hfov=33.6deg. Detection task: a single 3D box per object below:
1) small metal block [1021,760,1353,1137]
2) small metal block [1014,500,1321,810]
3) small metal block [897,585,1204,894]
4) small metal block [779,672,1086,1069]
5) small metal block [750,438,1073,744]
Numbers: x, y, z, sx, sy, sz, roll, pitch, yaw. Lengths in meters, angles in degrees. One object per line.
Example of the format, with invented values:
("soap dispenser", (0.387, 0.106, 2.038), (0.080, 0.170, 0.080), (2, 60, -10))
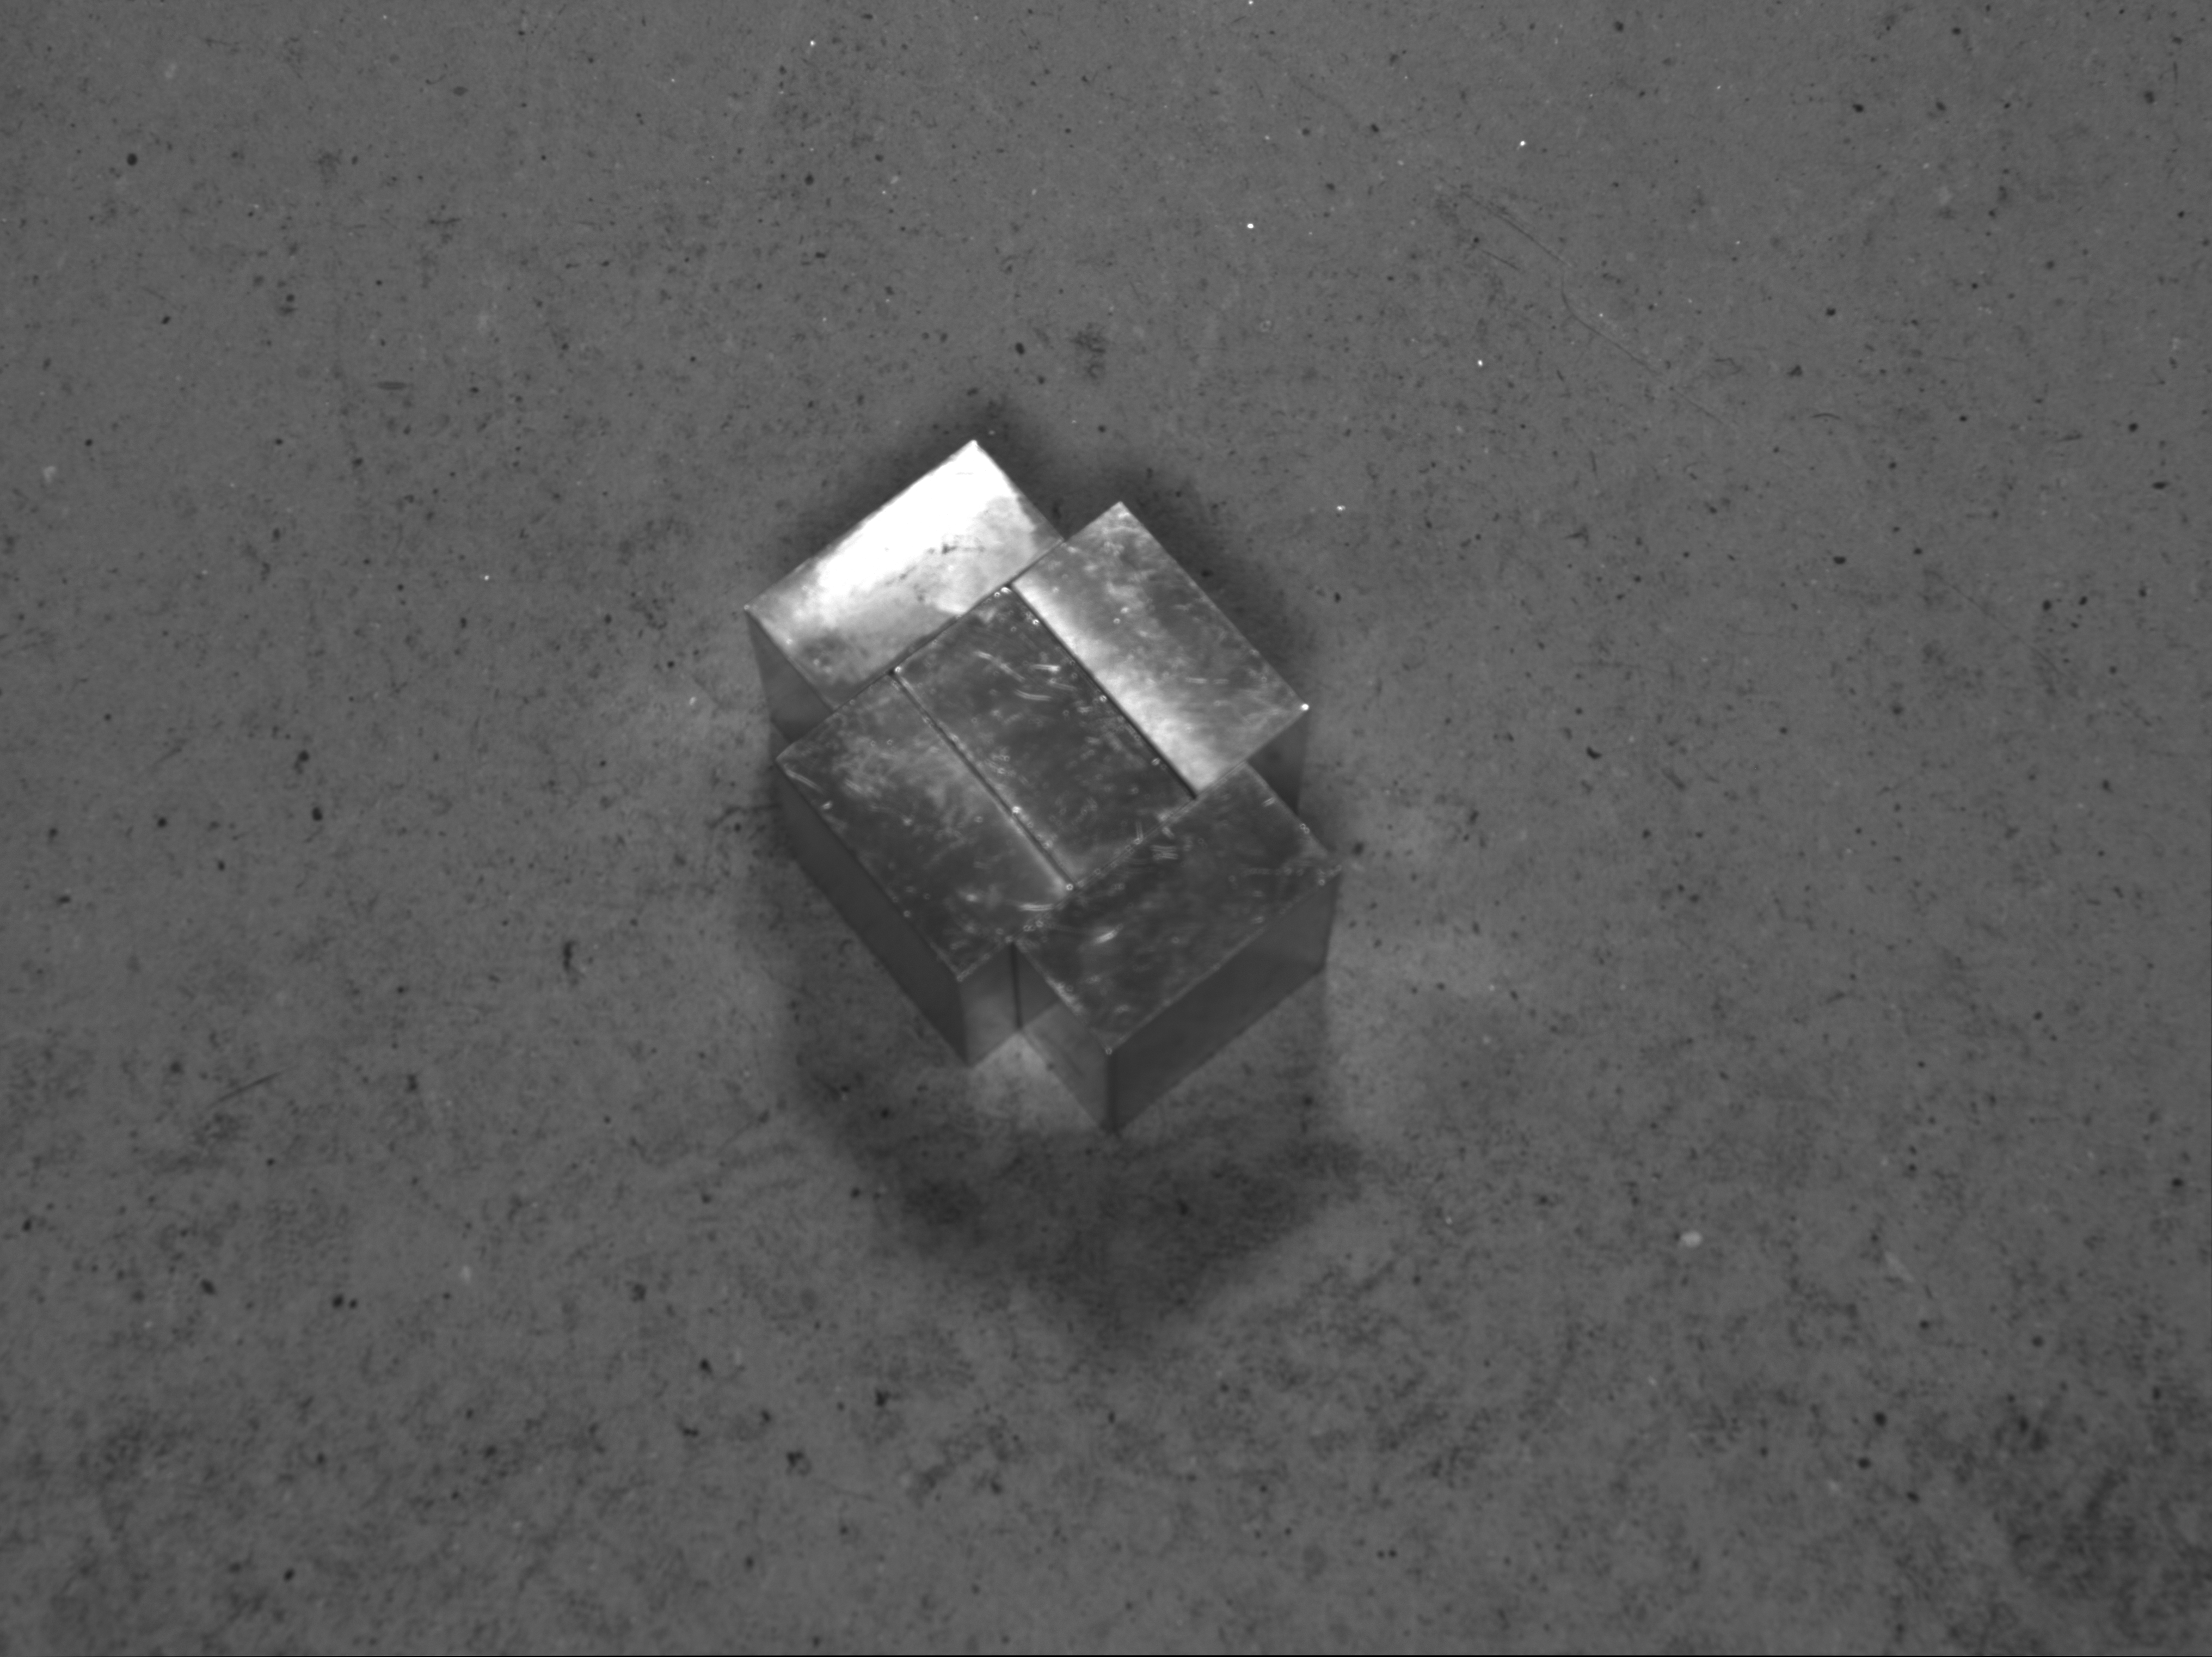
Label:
("small metal block", (0.013, 0.021, 0.623), (0.050, 0.050, 0.025), (-37, 74, -13))
("small metal block", (0.010, -0.022, 0.639), (0.025, 0.050, 0.050), (-39, 74, -13))
("small metal block", (-0.009, -0.007, 0.634), (0.025, 0.050, 0.050), (-38, 74, -13))
("small metal block", (-0.029, 0.008, 0.628), (0.025, 0.050, 0.050), (-38, 74, -13))
("small metal block", (-0.033, -0.035, 0.644), (0.050, 0.050, 0.025), (-37, 74, -13))
